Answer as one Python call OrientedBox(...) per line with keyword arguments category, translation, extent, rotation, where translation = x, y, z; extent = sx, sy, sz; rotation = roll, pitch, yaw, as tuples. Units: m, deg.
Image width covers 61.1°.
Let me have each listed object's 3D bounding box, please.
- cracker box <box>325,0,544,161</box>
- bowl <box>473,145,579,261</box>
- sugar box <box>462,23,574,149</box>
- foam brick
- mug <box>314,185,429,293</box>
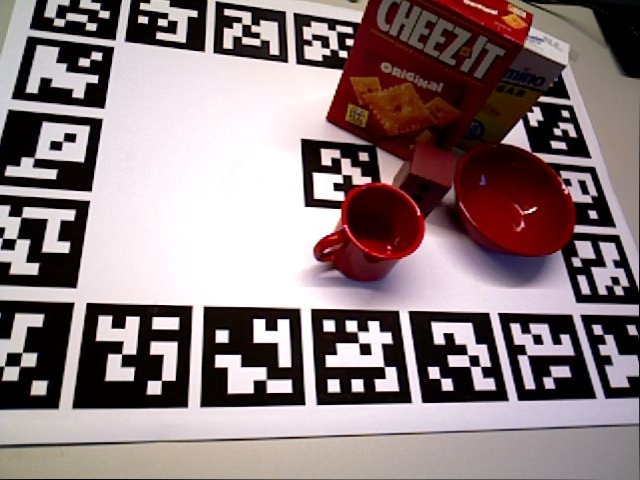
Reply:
OrientedBox(category="cracker box", translation=(0.115, -0.192, 0.621), extent=(0.164, 0.219, 0.070), rotation=(30, 56, 1))
OrientedBox(category="bowl", translation=(0.240, -0.034, 0.651), extent=(0.160, 0.056, 0.159), rotation=(6, 62, -12))
OrientedBox(category="sugar box", translation=(0.217, -0.188, 0.667), extent=(0.092, 0.180, 0.044), rotation=(22, 58, -2))
OrientedBox(category="foam brick", translation=(0.120, -0.067, 0.641), extent=(0.052, 0.080, 0.050), rotation=(17, 58, -5))
OrientedBox(category="mug", translation=(0.049, 0.004, 0.572), extent=(0.115, 0.083, 0.092), rotation=(-6, 56, -16))
